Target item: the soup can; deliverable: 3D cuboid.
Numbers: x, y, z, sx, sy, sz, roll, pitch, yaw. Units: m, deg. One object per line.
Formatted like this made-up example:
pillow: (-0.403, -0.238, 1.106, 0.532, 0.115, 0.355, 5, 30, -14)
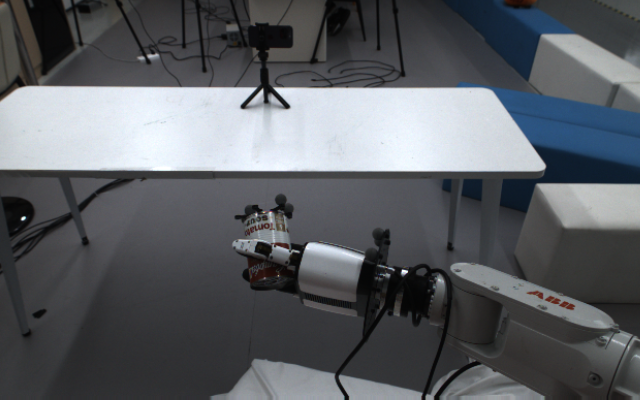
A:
soup can: (-0.073, 0.076, 0.711, 0.067, 0.067, 0.101, -6, 67, -12)
